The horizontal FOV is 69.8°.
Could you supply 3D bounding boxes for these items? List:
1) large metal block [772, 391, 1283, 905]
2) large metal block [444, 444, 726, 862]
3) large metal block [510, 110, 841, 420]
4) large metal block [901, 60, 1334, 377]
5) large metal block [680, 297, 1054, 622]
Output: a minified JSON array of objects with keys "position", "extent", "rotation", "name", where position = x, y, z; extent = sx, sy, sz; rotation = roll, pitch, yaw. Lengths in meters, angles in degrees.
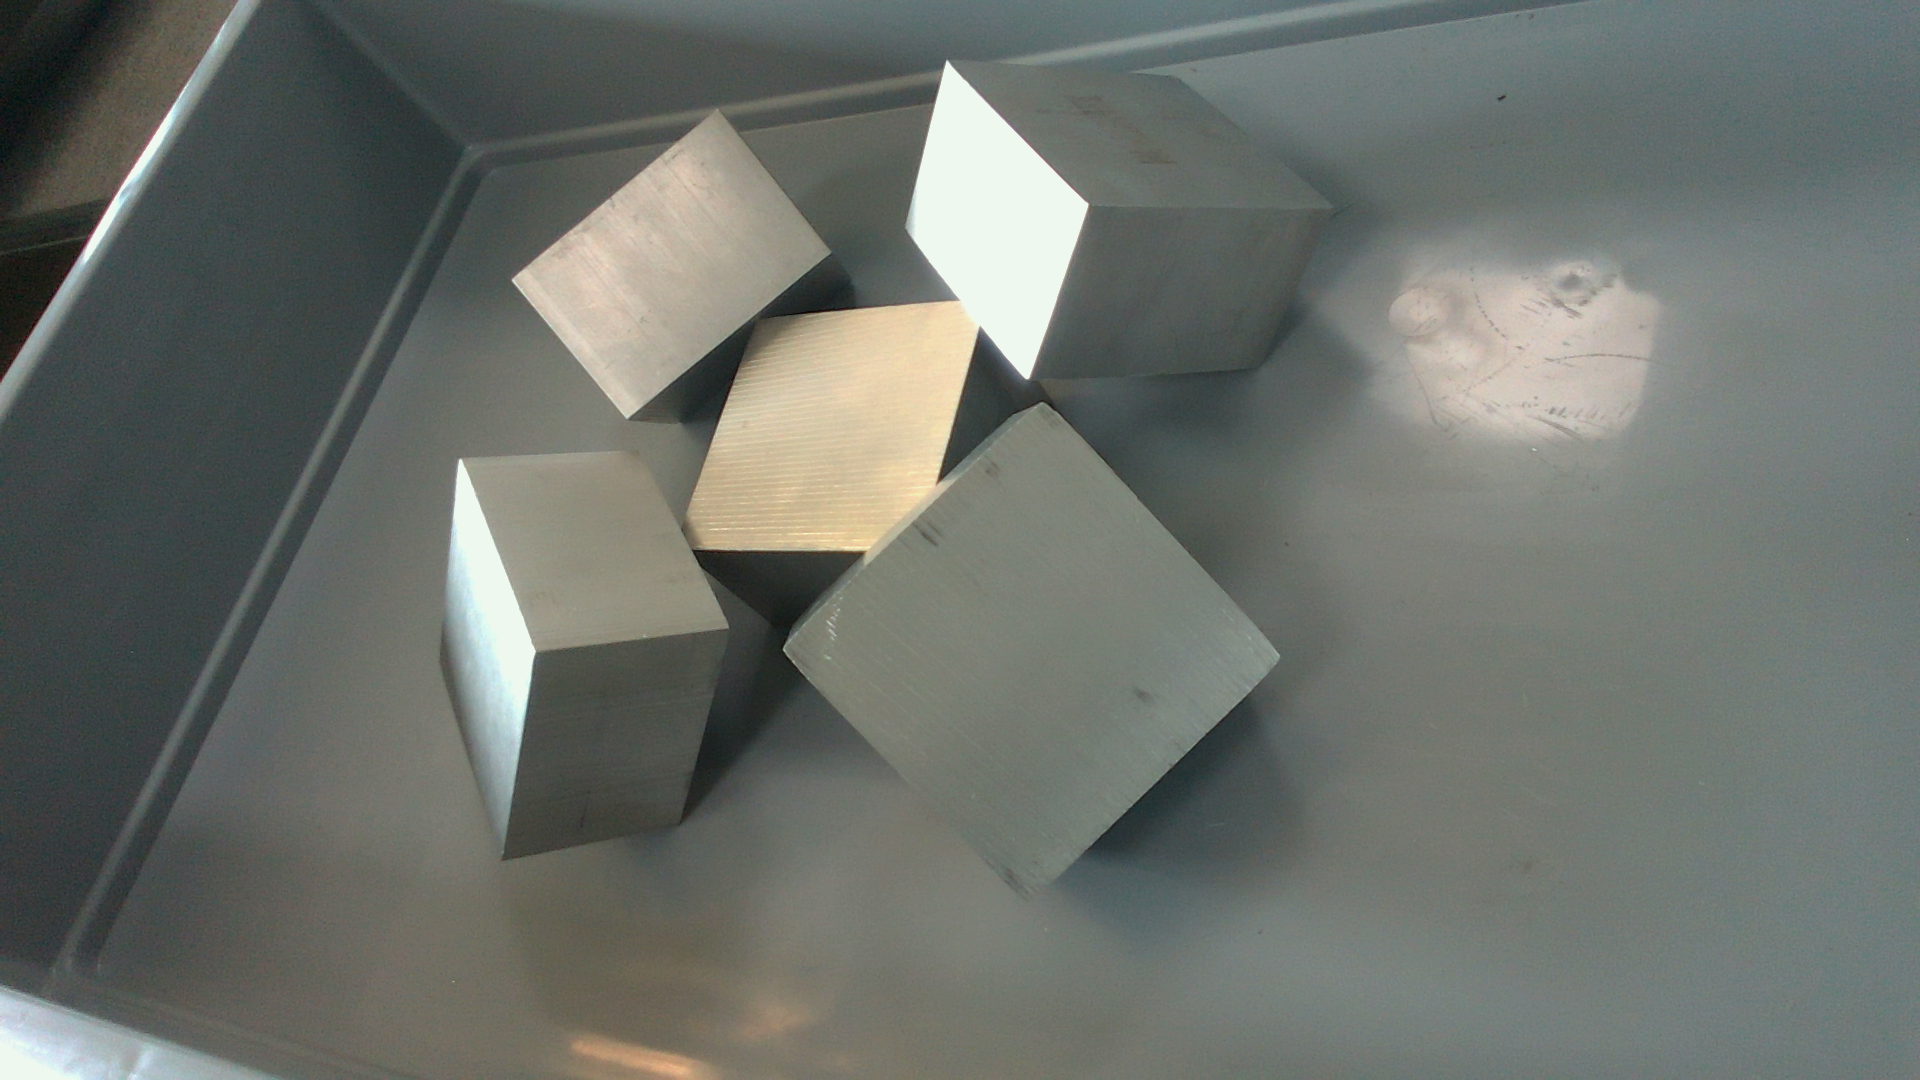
[{"position":[0.014,0.023,0.326],"extent":[0.080,0.050,0.080],"rotation":[-43,96,-3],"name":"large metal block"},{"position":[-0.111,0.030,0.391],"extent":[0.080,0.050,0.080],"rotation":[55,138,39],"name":"large metal block"},{"position":[-0.086,-0.084,0.444],"extent":[0.080,0.080,0.050],"rotation":[-39,94,2],"name":"large metal block"},{"position":[0.040,-0.091,0.383],"extent":[0.080,0.050,0.080],"rotation":[-7,43,-29],"name":"large metal block"},{"position":[-0.026,-0.021,0.402],"extent":[0.080,0.050,0.080],"rotation":[1,62,29],"name":"large metal block"}]
